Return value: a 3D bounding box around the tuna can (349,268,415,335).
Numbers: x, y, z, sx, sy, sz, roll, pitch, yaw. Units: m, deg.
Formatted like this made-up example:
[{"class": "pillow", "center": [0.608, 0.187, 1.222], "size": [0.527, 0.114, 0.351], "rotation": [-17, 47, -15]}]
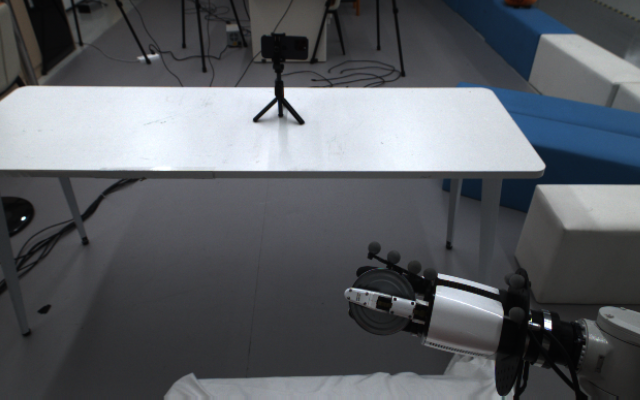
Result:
[{"class": "tuna can", "center": [0.085, 0.132, 0.636], "size": [0.085, 0.085, 0.034], "rotation": [14, -7, 16]}]
